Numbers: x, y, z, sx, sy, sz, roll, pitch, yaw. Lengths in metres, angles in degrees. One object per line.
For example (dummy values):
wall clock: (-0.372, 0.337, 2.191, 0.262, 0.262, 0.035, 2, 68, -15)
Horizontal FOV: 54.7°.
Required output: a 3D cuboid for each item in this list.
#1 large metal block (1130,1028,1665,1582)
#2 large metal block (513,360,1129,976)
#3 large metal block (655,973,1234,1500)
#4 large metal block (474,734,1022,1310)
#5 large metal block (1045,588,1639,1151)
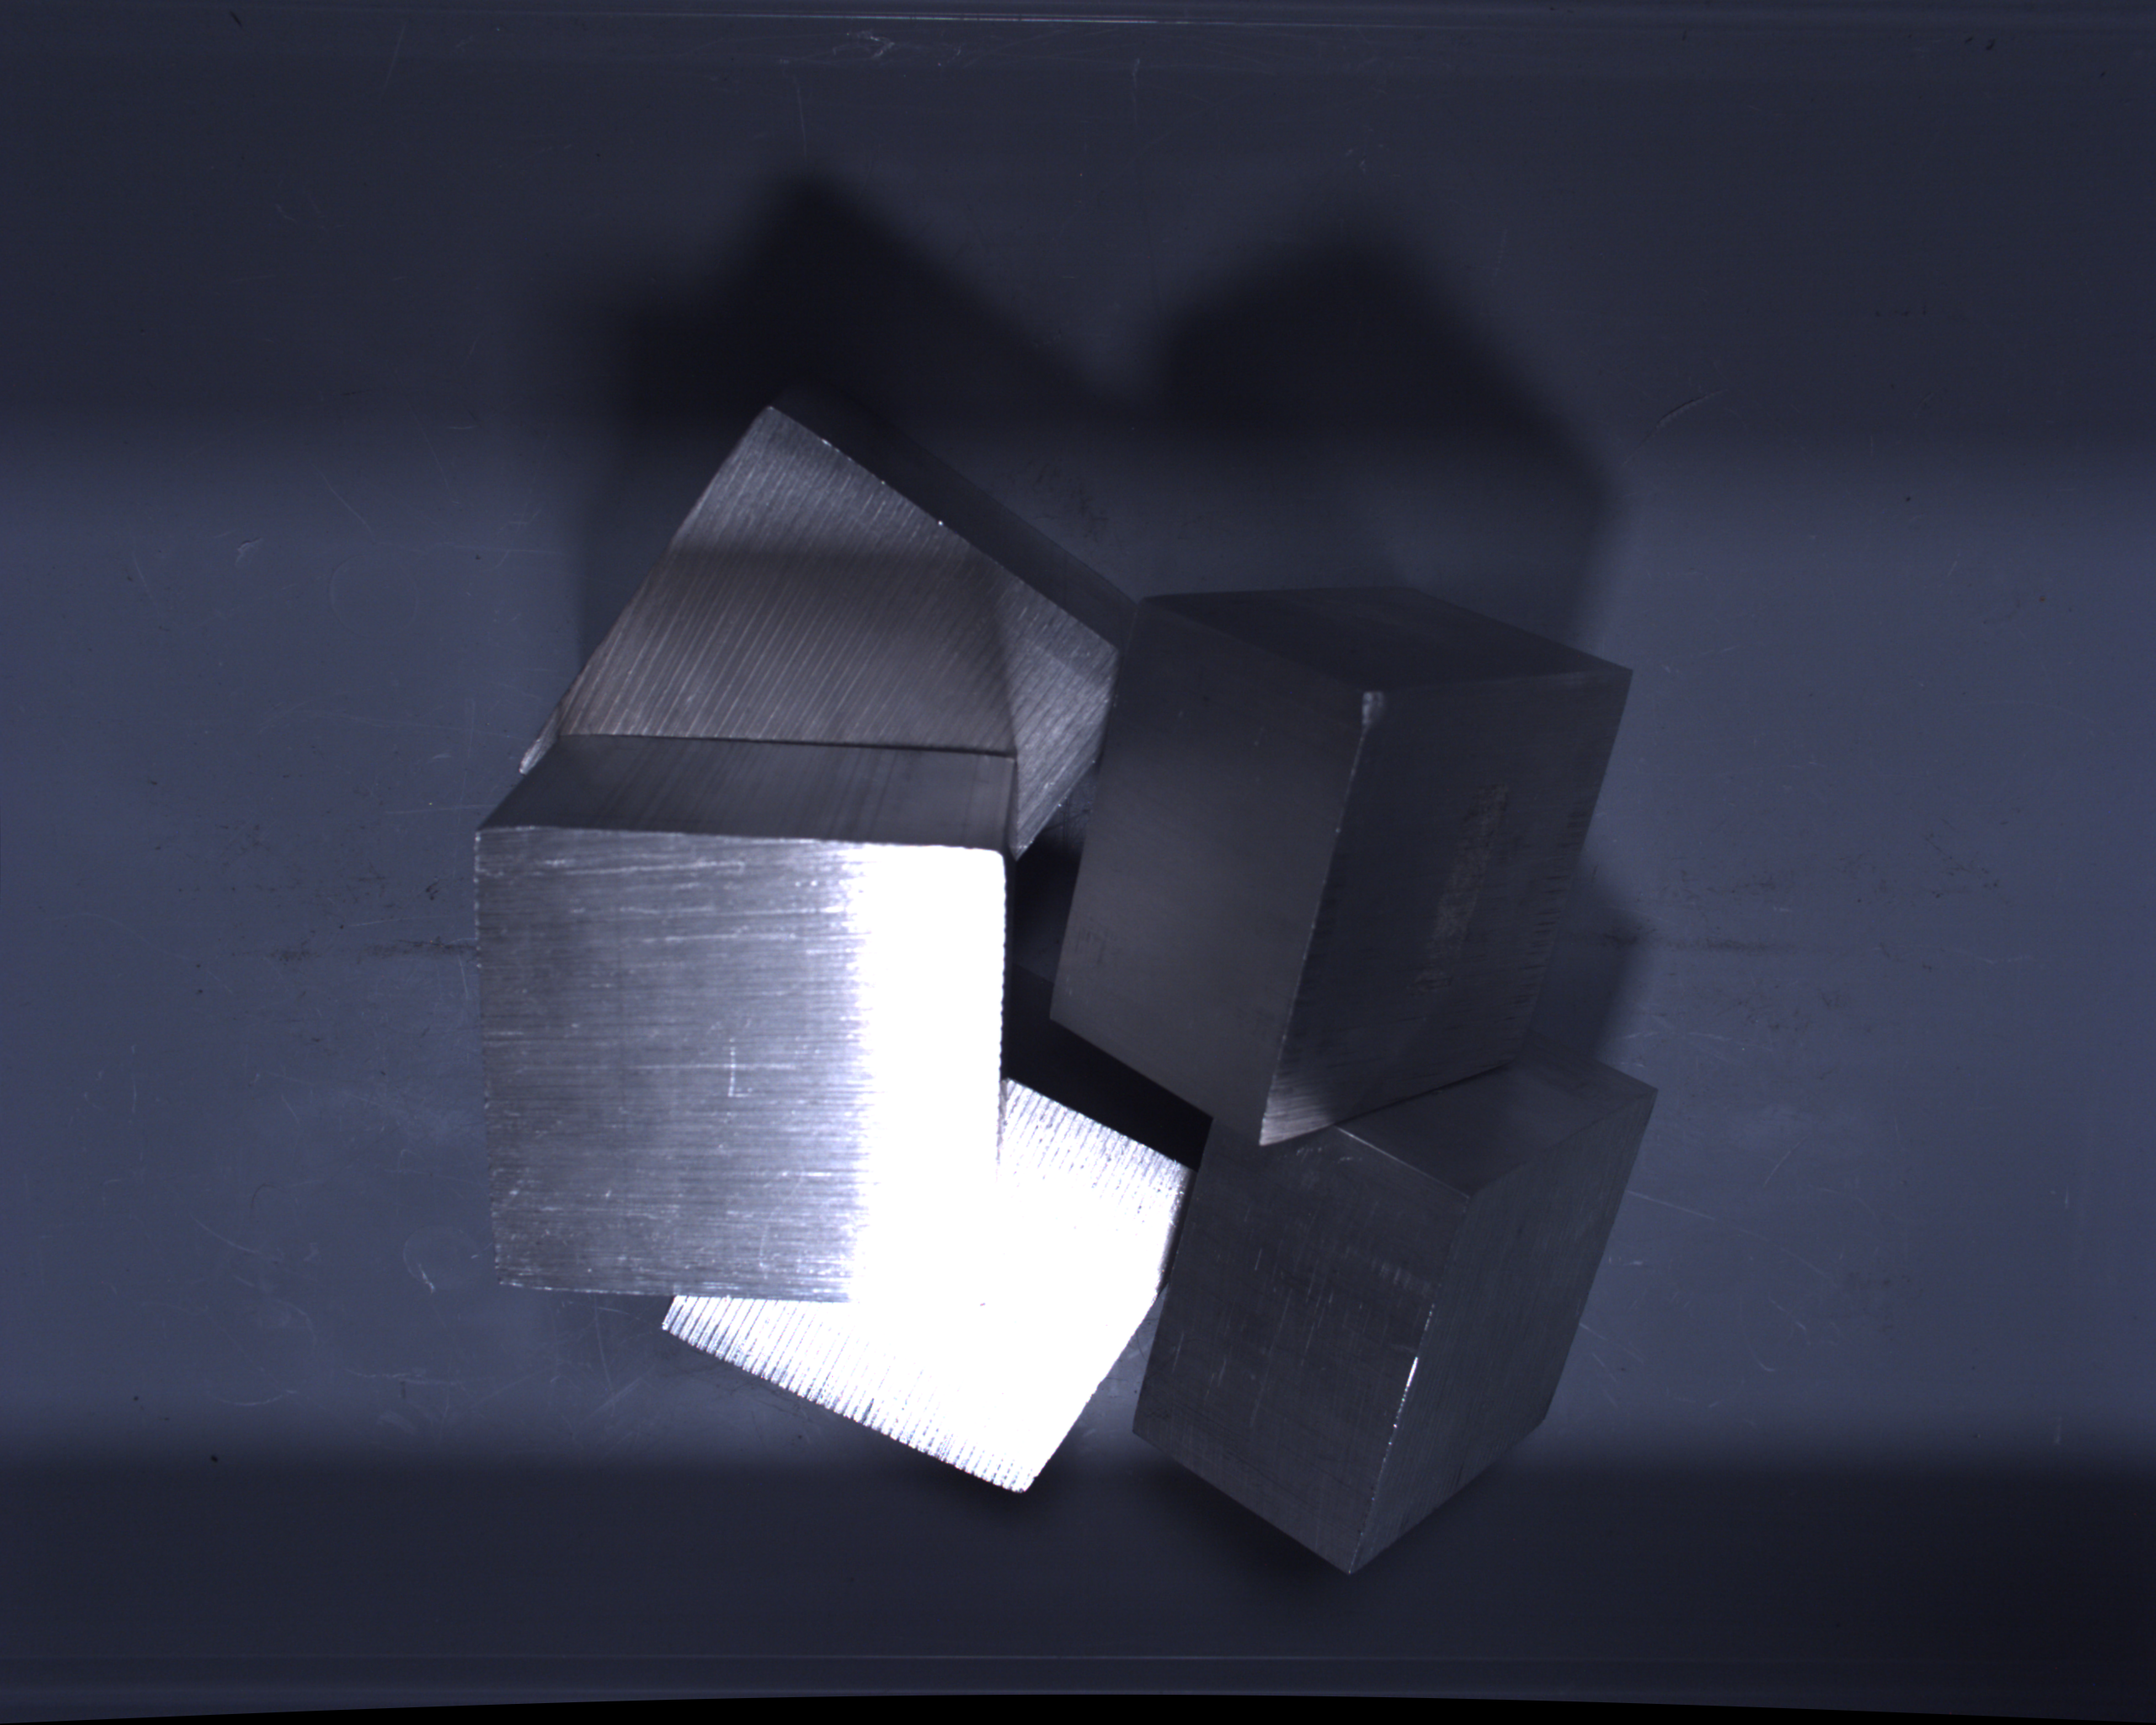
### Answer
large metal block: (0.062, 0.077, 0.402, 0.050, 0.081, 0.079, 26, 113, 32)
large metal block: (-0.042, -0.033, 0.384, 0.080, 0.050, 0.080, 34, 106, -12)
large metal block: (-0.026, 0.067, 0.418, 0.080, 0.050, 0.080, 28, 107, -11)
large metal block: (-0.052, 0.025, 0.350, 0.081, 0.050, 0.079, 3, 109, 0)
large metal block: (0.047, -0.003, 0.373, 0.081, 0.050, 0.079, -9, 119, -46)
